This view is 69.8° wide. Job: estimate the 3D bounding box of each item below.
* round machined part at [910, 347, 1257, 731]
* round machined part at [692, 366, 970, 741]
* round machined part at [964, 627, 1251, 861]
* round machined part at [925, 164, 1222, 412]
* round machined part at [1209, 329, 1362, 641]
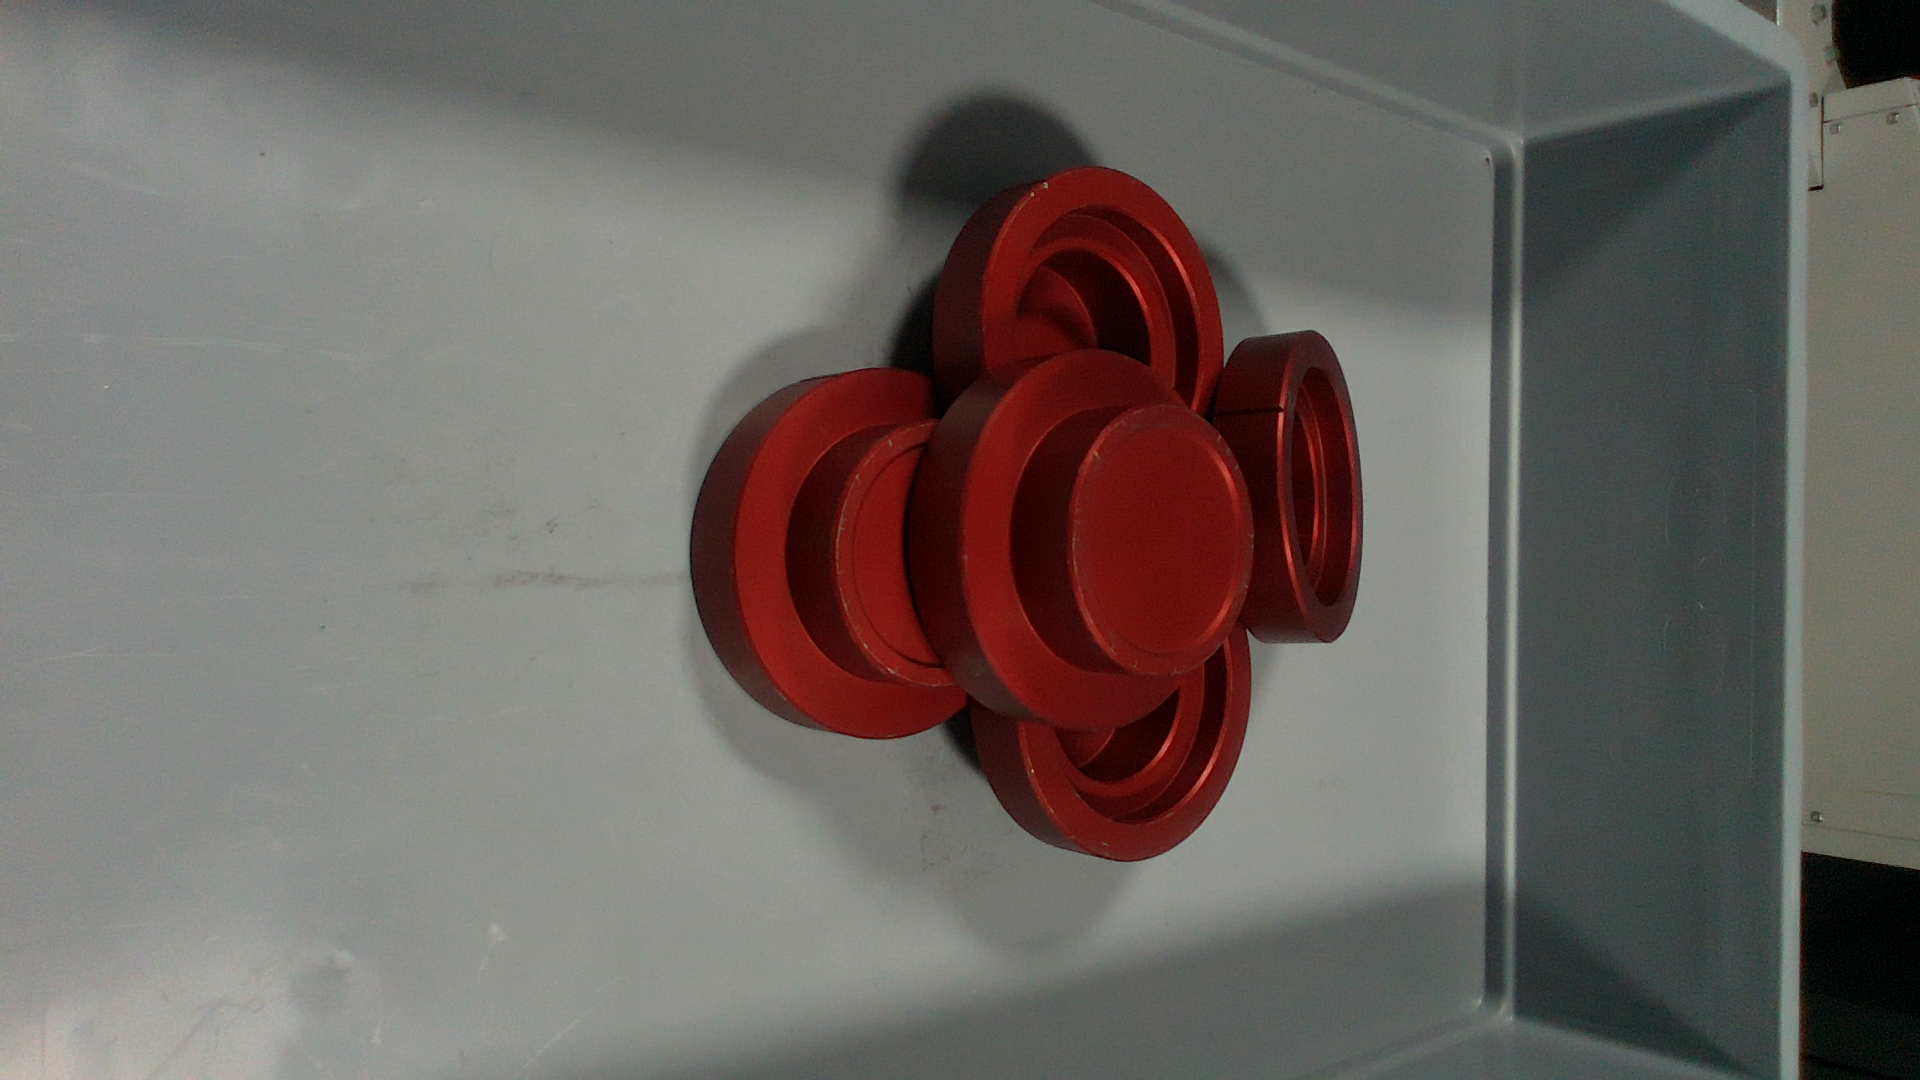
[{"bbox_3d":[0.038,0.000,0.352,0.098,0.042,0.098,0,90,-40],"label":"round machined part"},{"bbox_3d":[-0.017,0.003,0.360,0.098,0.042,0.098,0,90,-40],"label":"round machined part"},{"bbox_3d":[0.039,0.042,0.409,0.098,0.042,0.098,0,90,-40],"label":"round machined part"},{"bbox_3d":[0.029,-0.056,0.400,0.098,0.042,0.098,0,90,-40],"label":"round machined part"},{"bbox_3d":[0.096,-0.016,0.442,0.098,0.042,0.098,9,79,-59],"label":"round machined part"}]
